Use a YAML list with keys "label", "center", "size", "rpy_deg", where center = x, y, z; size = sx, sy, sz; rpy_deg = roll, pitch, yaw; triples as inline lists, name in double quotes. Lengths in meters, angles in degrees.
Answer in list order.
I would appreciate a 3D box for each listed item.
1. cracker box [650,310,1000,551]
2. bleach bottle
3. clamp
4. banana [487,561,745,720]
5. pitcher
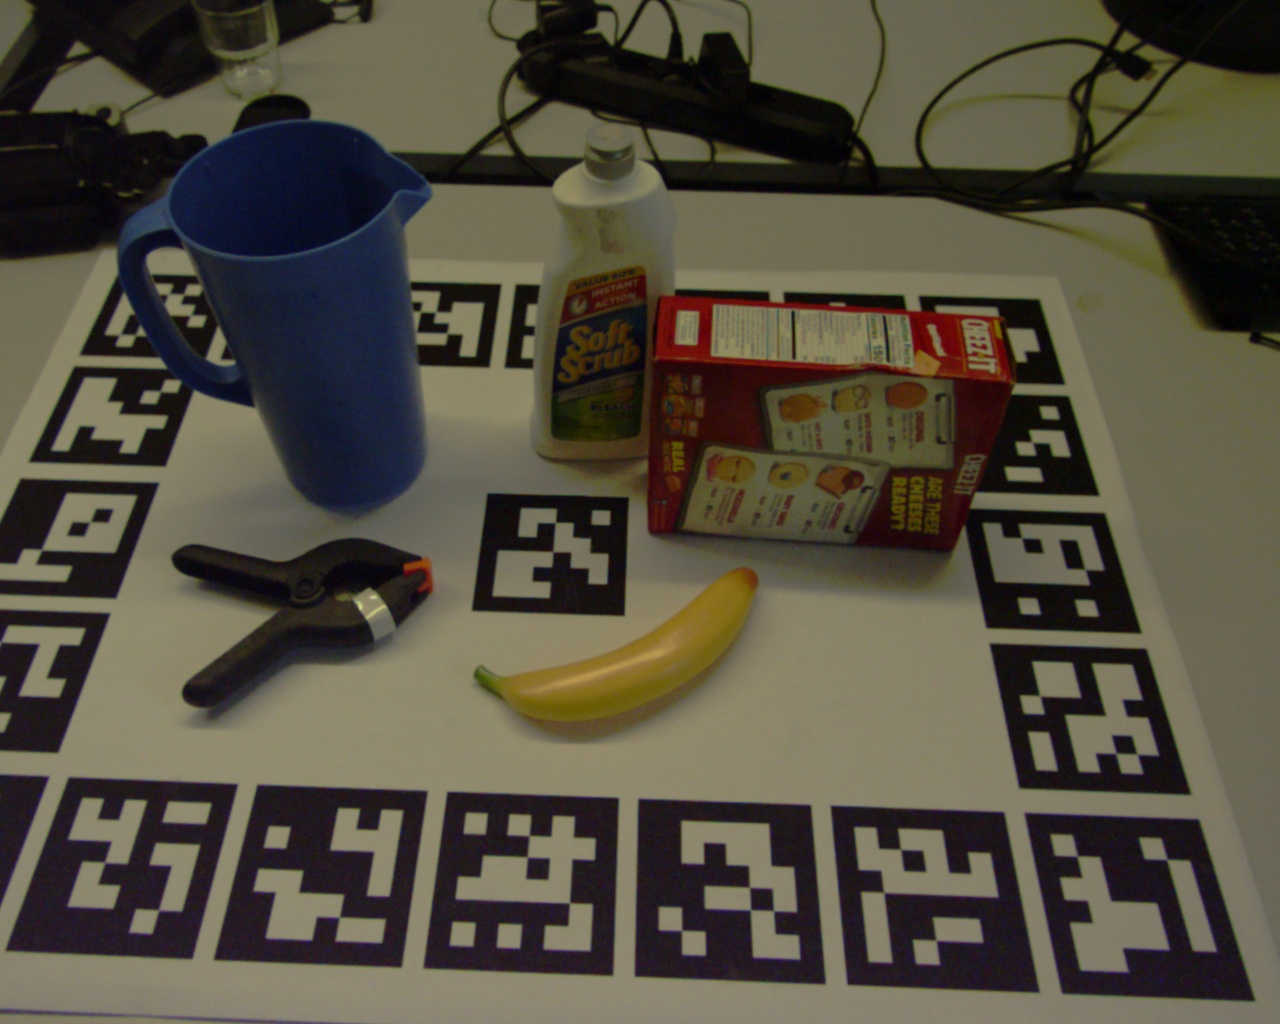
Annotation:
- label: "cracker box"
  center: [0.115, -0.054, 0.778]
  size: [0.214, 0.163, 0.072]
  rpy_deg: [2, 47, 3]
- label: "bleach bottle"
  center: [-0.038, -0.134, 0.808]
  size: [0.102, 0.250, 0.068]
  rpy_deg: [2, 49, 0]
- label: "clamp"
  center: [-0.220, 0.060, 0.779]
  size: [0.164, 0.036, 0.123]
  rpy_deg: [-10, 49, -11]
- label: "banana"
  center: [0.000, 0.090, 0.766]
  size: [0.196, 0.039, 0.075]
  rpy_deg: [-26, 55, -20]
- label: "pitcher"
  center: [-0.225, -0.121, 0.770]
  size: [0.187, 0.242, 0.134]
  rpy_deg: [-11, 51, -14]
